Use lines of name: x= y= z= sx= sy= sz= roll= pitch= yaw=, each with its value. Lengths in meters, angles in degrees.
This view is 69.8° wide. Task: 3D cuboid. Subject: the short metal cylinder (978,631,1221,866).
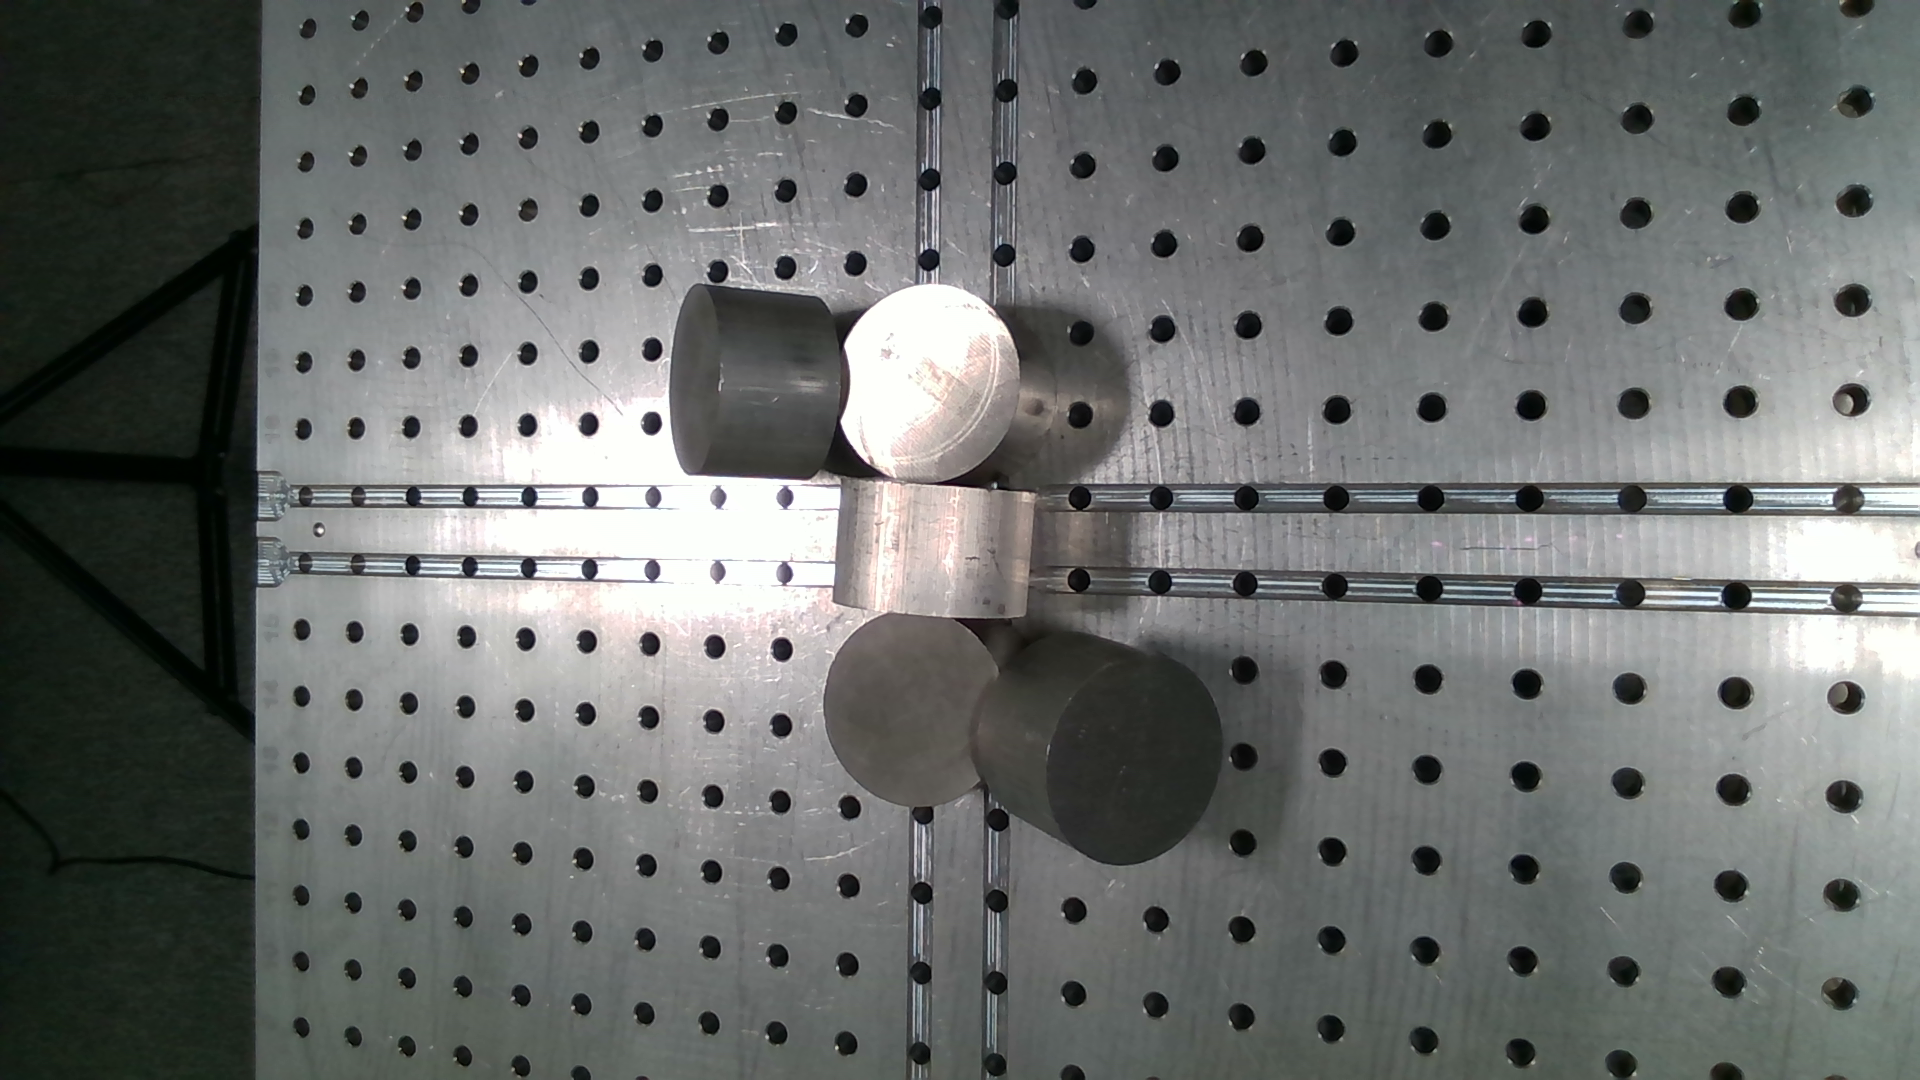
short metal cylinder: x=0.053 y=0.079 z=0.533 sx=0.050 sy=0.080 sz=0.080 roll=14 pitch=97 yaw=62

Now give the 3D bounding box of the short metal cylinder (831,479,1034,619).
short metal cylinder: x=-0.011 y=0.003 z=0.563 sx=0.080 sy=0.080 sz=0.050 roll=5 pitch=92 yaw=20

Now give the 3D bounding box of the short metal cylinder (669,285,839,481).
short metal cylinder: x=-0.089 y=-0.066 z=0.585 sx=0.080 sy=0.050 sz=0.080 roll=-5 pitch=85 yaw=64

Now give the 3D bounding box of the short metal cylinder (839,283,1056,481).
short metal cylinder: x=-0.005 y=-0.063 z=0.575 sx=0.080 sy=0.050 sz=0.080 roll=0 pitch=90 yaw=20

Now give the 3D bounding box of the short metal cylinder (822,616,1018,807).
short metal cylinder: x=-0.011 y=0.068 z=0.579 sx=0.080 sy=0.050 sz=0.080 roll=0 pitch=90 yaw=20
